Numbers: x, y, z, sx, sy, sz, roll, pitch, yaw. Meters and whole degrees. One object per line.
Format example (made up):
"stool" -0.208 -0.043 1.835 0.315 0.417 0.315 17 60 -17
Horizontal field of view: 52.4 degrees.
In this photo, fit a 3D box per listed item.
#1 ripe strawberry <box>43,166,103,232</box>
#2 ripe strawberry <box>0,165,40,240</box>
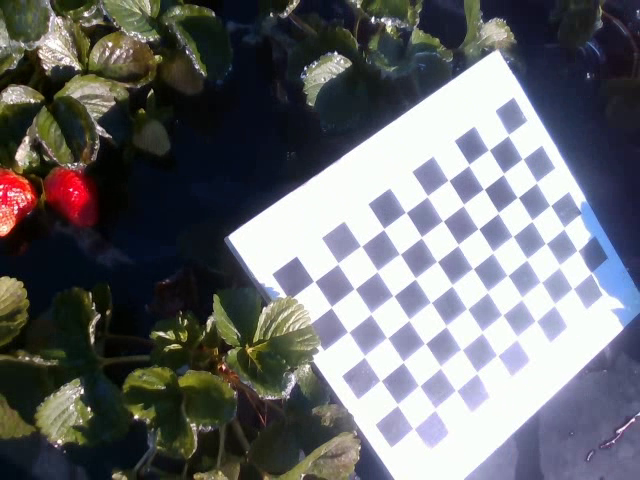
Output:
"ripe strawberry" -0.217 -0.040 0.559 0.043 0.059 0.040 -36 3 -16
"ripe strawberry" -0.270 -0.031 0.552 0.052 0.070 0.040 14 -14 -23
